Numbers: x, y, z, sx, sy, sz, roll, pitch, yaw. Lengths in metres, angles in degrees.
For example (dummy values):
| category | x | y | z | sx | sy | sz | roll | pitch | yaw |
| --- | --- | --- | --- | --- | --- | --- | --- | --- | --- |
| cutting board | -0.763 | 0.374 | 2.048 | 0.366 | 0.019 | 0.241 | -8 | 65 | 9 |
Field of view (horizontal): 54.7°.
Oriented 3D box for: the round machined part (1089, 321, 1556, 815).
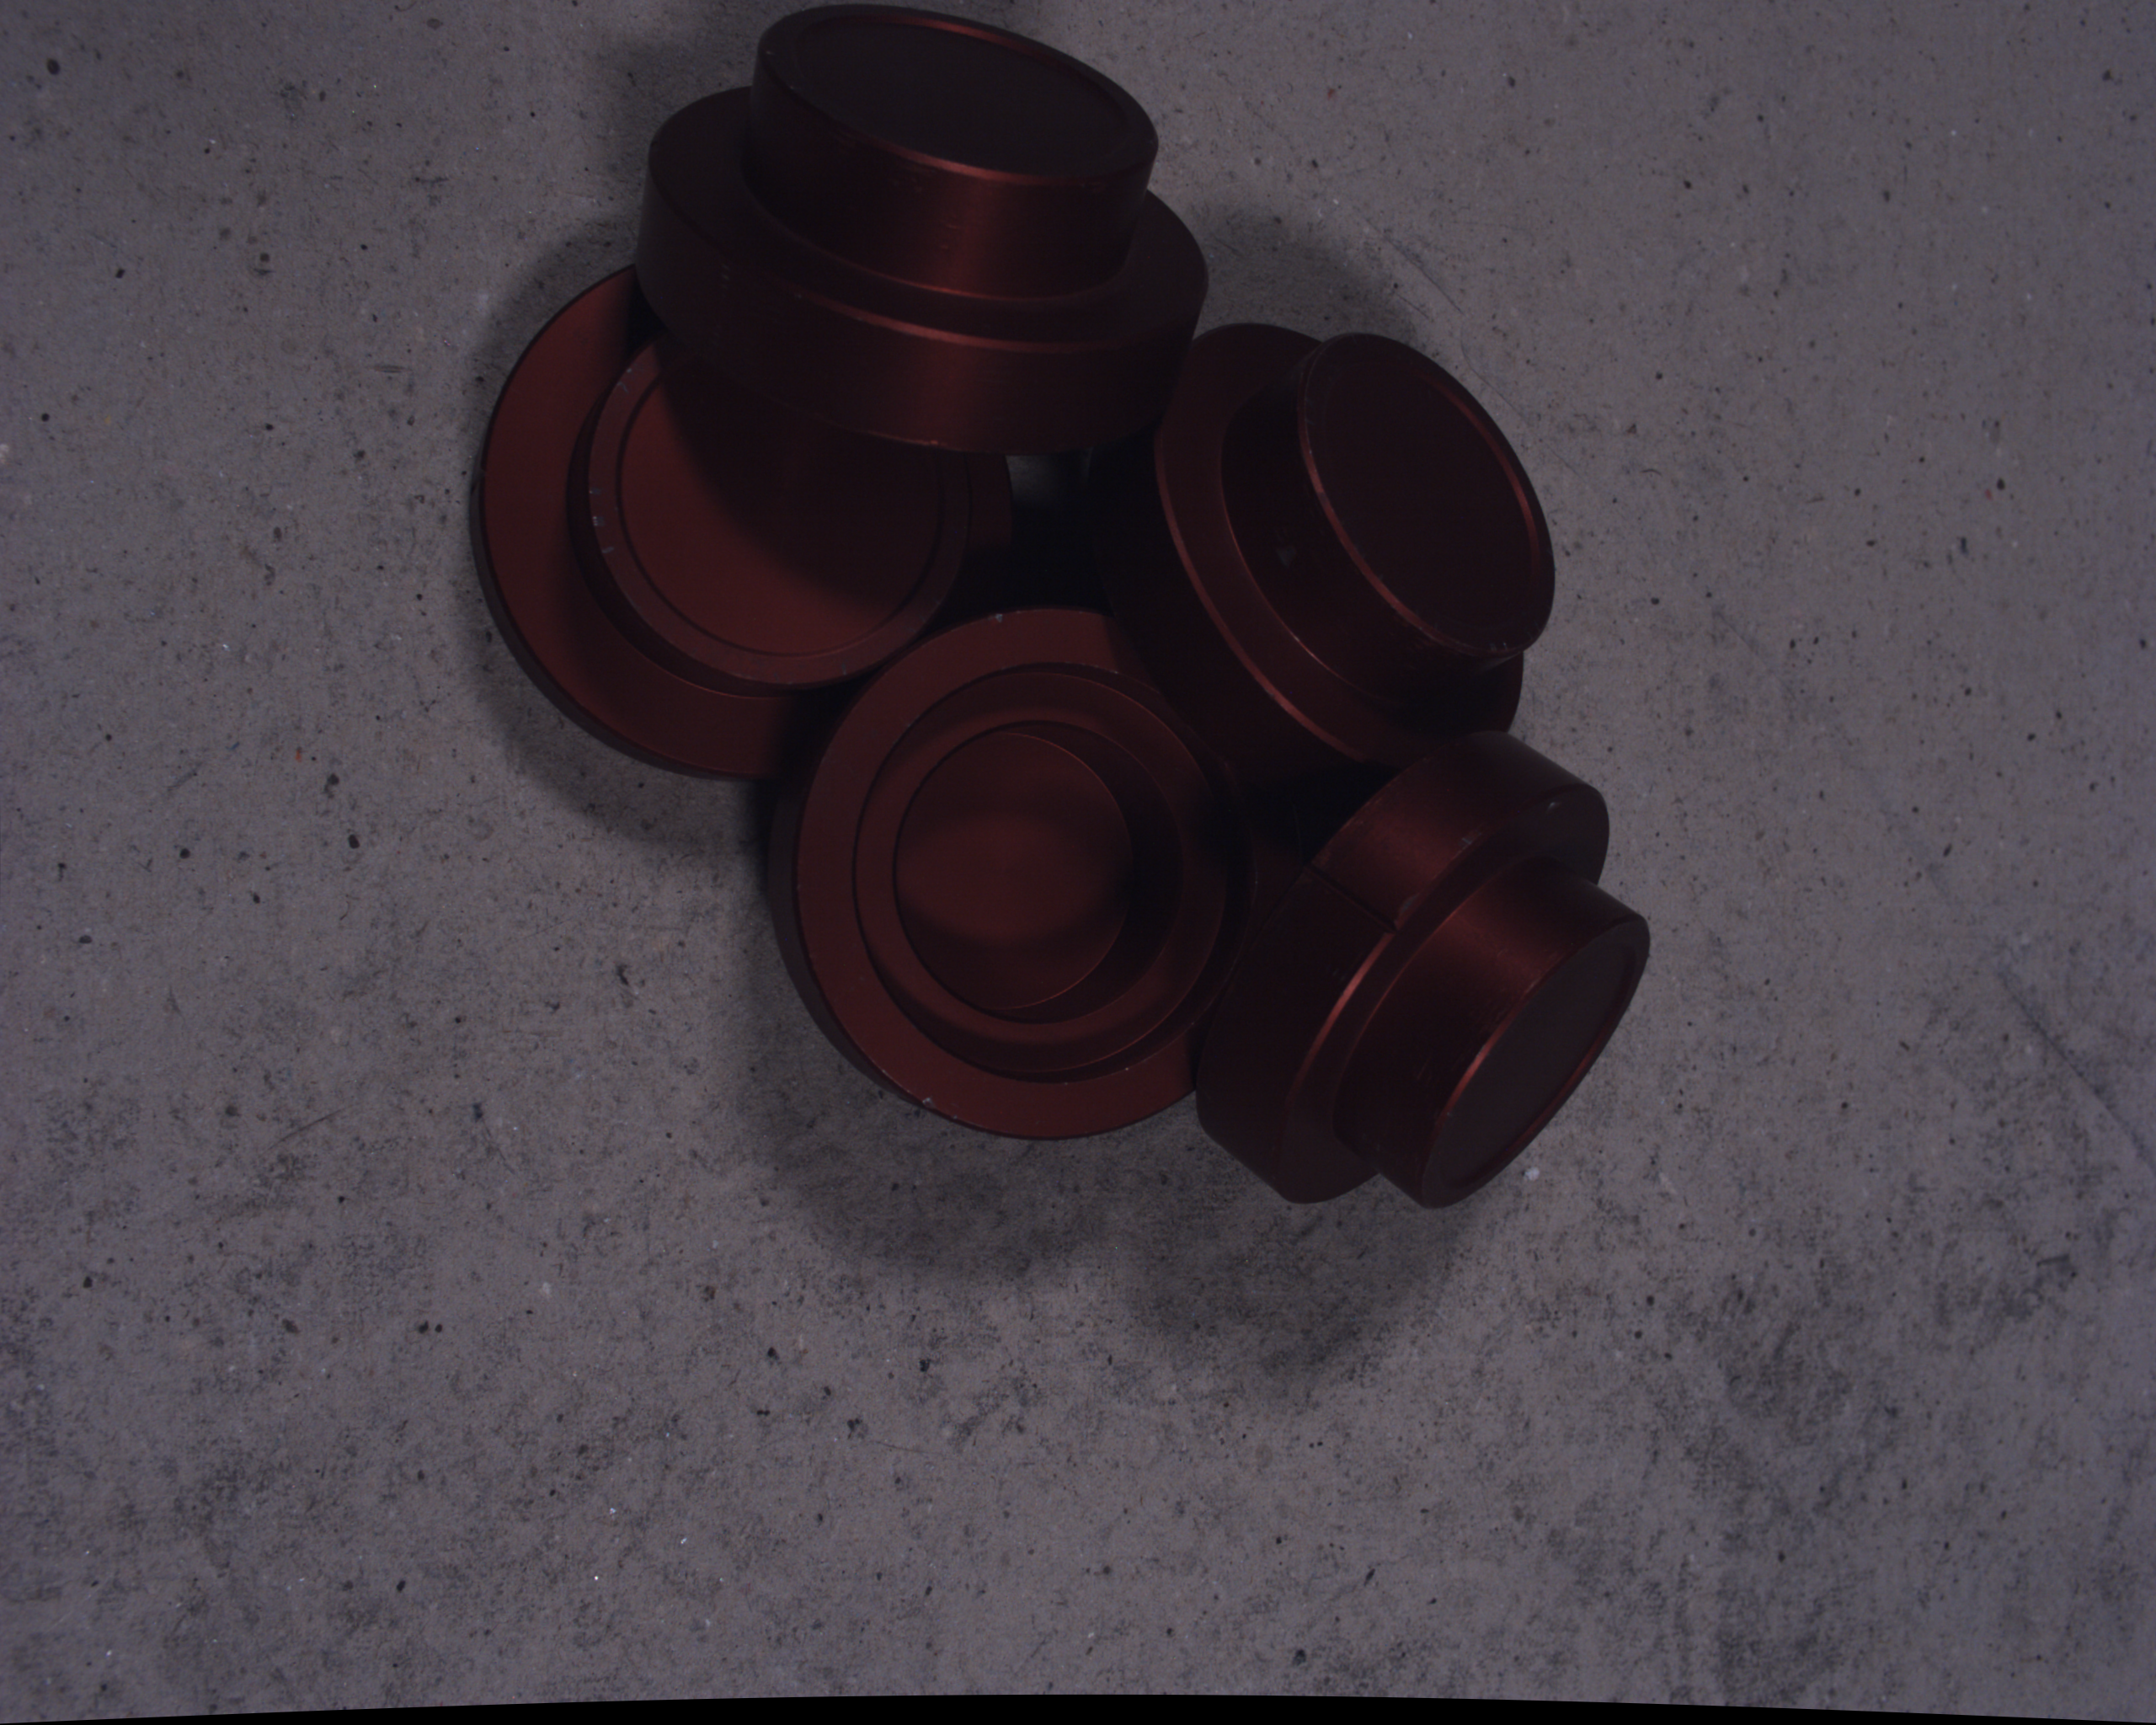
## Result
| category | x | y | z | sx | sy | sz | roll | pitch | yaw |
| --- | --- | --- | --- | --- | --- | --- | --- | --- | --- |
| round machined part | 0.053 | -0.061 | 0.399 | 0.099 | 0.042 | 0.098 | 21 | 55 | -33 |

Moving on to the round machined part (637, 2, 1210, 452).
| category | x | y | z | sx | sy | sz | roll | pitch | yaw |
| --- | --- | --- | --- | --- | --- | --- | --- | --- | --- |
| round machined part | -0.024 | -0.115 | 0.362 | 0.099 | 0.098 | 0.042 | 1 | 132 | -20 |

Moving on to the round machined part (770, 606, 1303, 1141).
| category | x | y | z | sx | sy | sz | roll | pitch | yaw |
| --- | --- | --- | --- | --- | --- | --- | --- | --- | --- |
| round machined part | -0.010 | 0.002 | 0.398 | 0.099 | 0.042 | 0.097 | 0 | 90 | -21 |

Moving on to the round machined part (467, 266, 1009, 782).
| category | x | y | z | sx | sy | sz | roll | pitch | yaw |
| --- | --- | --- | --- | --- | --- | --- | --- | --- | --- |
| round machined part | -0.059 | -0.064 | 0.381 | 0.099 | 0.042 | 0.097 | 0 | 90 | -21 |

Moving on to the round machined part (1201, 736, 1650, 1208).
| category | x | y | z | sx | sy | sz | roll | pitch | yaw |
| --- | --- | --- | --- | --- | --- | --- | --- | --- | --- |
| round machined part | 0.072 | 0.028 | 0.400 | 0.042 | 0.098 | 0.098 | 38 | 74 | 26 |
